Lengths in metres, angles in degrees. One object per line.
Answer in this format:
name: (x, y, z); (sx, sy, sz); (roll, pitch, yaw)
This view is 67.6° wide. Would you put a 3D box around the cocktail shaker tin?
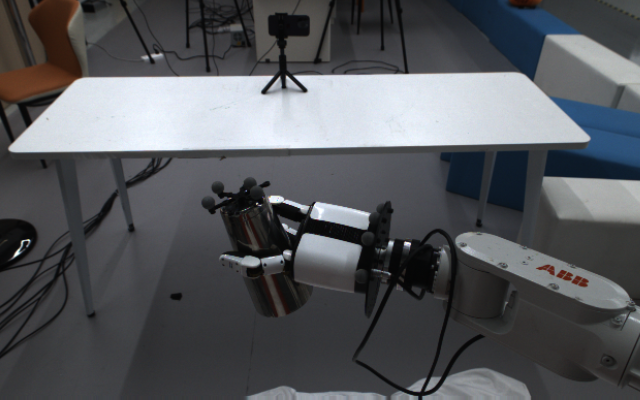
cocktail shaker tin: (-0.078, 0.073, 0.686); (0.093, 0.170, 0.093); (-15, 29, 8)
